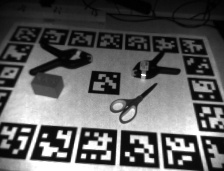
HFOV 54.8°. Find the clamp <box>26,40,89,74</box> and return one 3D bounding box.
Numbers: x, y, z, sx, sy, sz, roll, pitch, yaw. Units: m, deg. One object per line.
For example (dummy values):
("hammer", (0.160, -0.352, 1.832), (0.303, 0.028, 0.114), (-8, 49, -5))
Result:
("clamp", (-0.186, -0.104, 0.773), (0.203, 0.037, 0.164), (1, 49, -3))

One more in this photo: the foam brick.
("foam brick", (-0.213, -0.002, 0.684), (0.078, 0.052, 0.052), (7, 53, 9))

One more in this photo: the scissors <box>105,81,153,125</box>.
("scissors", (0.066, 0.038, 0.684), (0.087, 0.016, 0.204), (41, 59, 17))

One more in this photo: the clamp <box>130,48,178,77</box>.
("clamp", (0.139, -0.073, 0.772), (0.166, 0.037, 0.121), (-19, 62, -16))
